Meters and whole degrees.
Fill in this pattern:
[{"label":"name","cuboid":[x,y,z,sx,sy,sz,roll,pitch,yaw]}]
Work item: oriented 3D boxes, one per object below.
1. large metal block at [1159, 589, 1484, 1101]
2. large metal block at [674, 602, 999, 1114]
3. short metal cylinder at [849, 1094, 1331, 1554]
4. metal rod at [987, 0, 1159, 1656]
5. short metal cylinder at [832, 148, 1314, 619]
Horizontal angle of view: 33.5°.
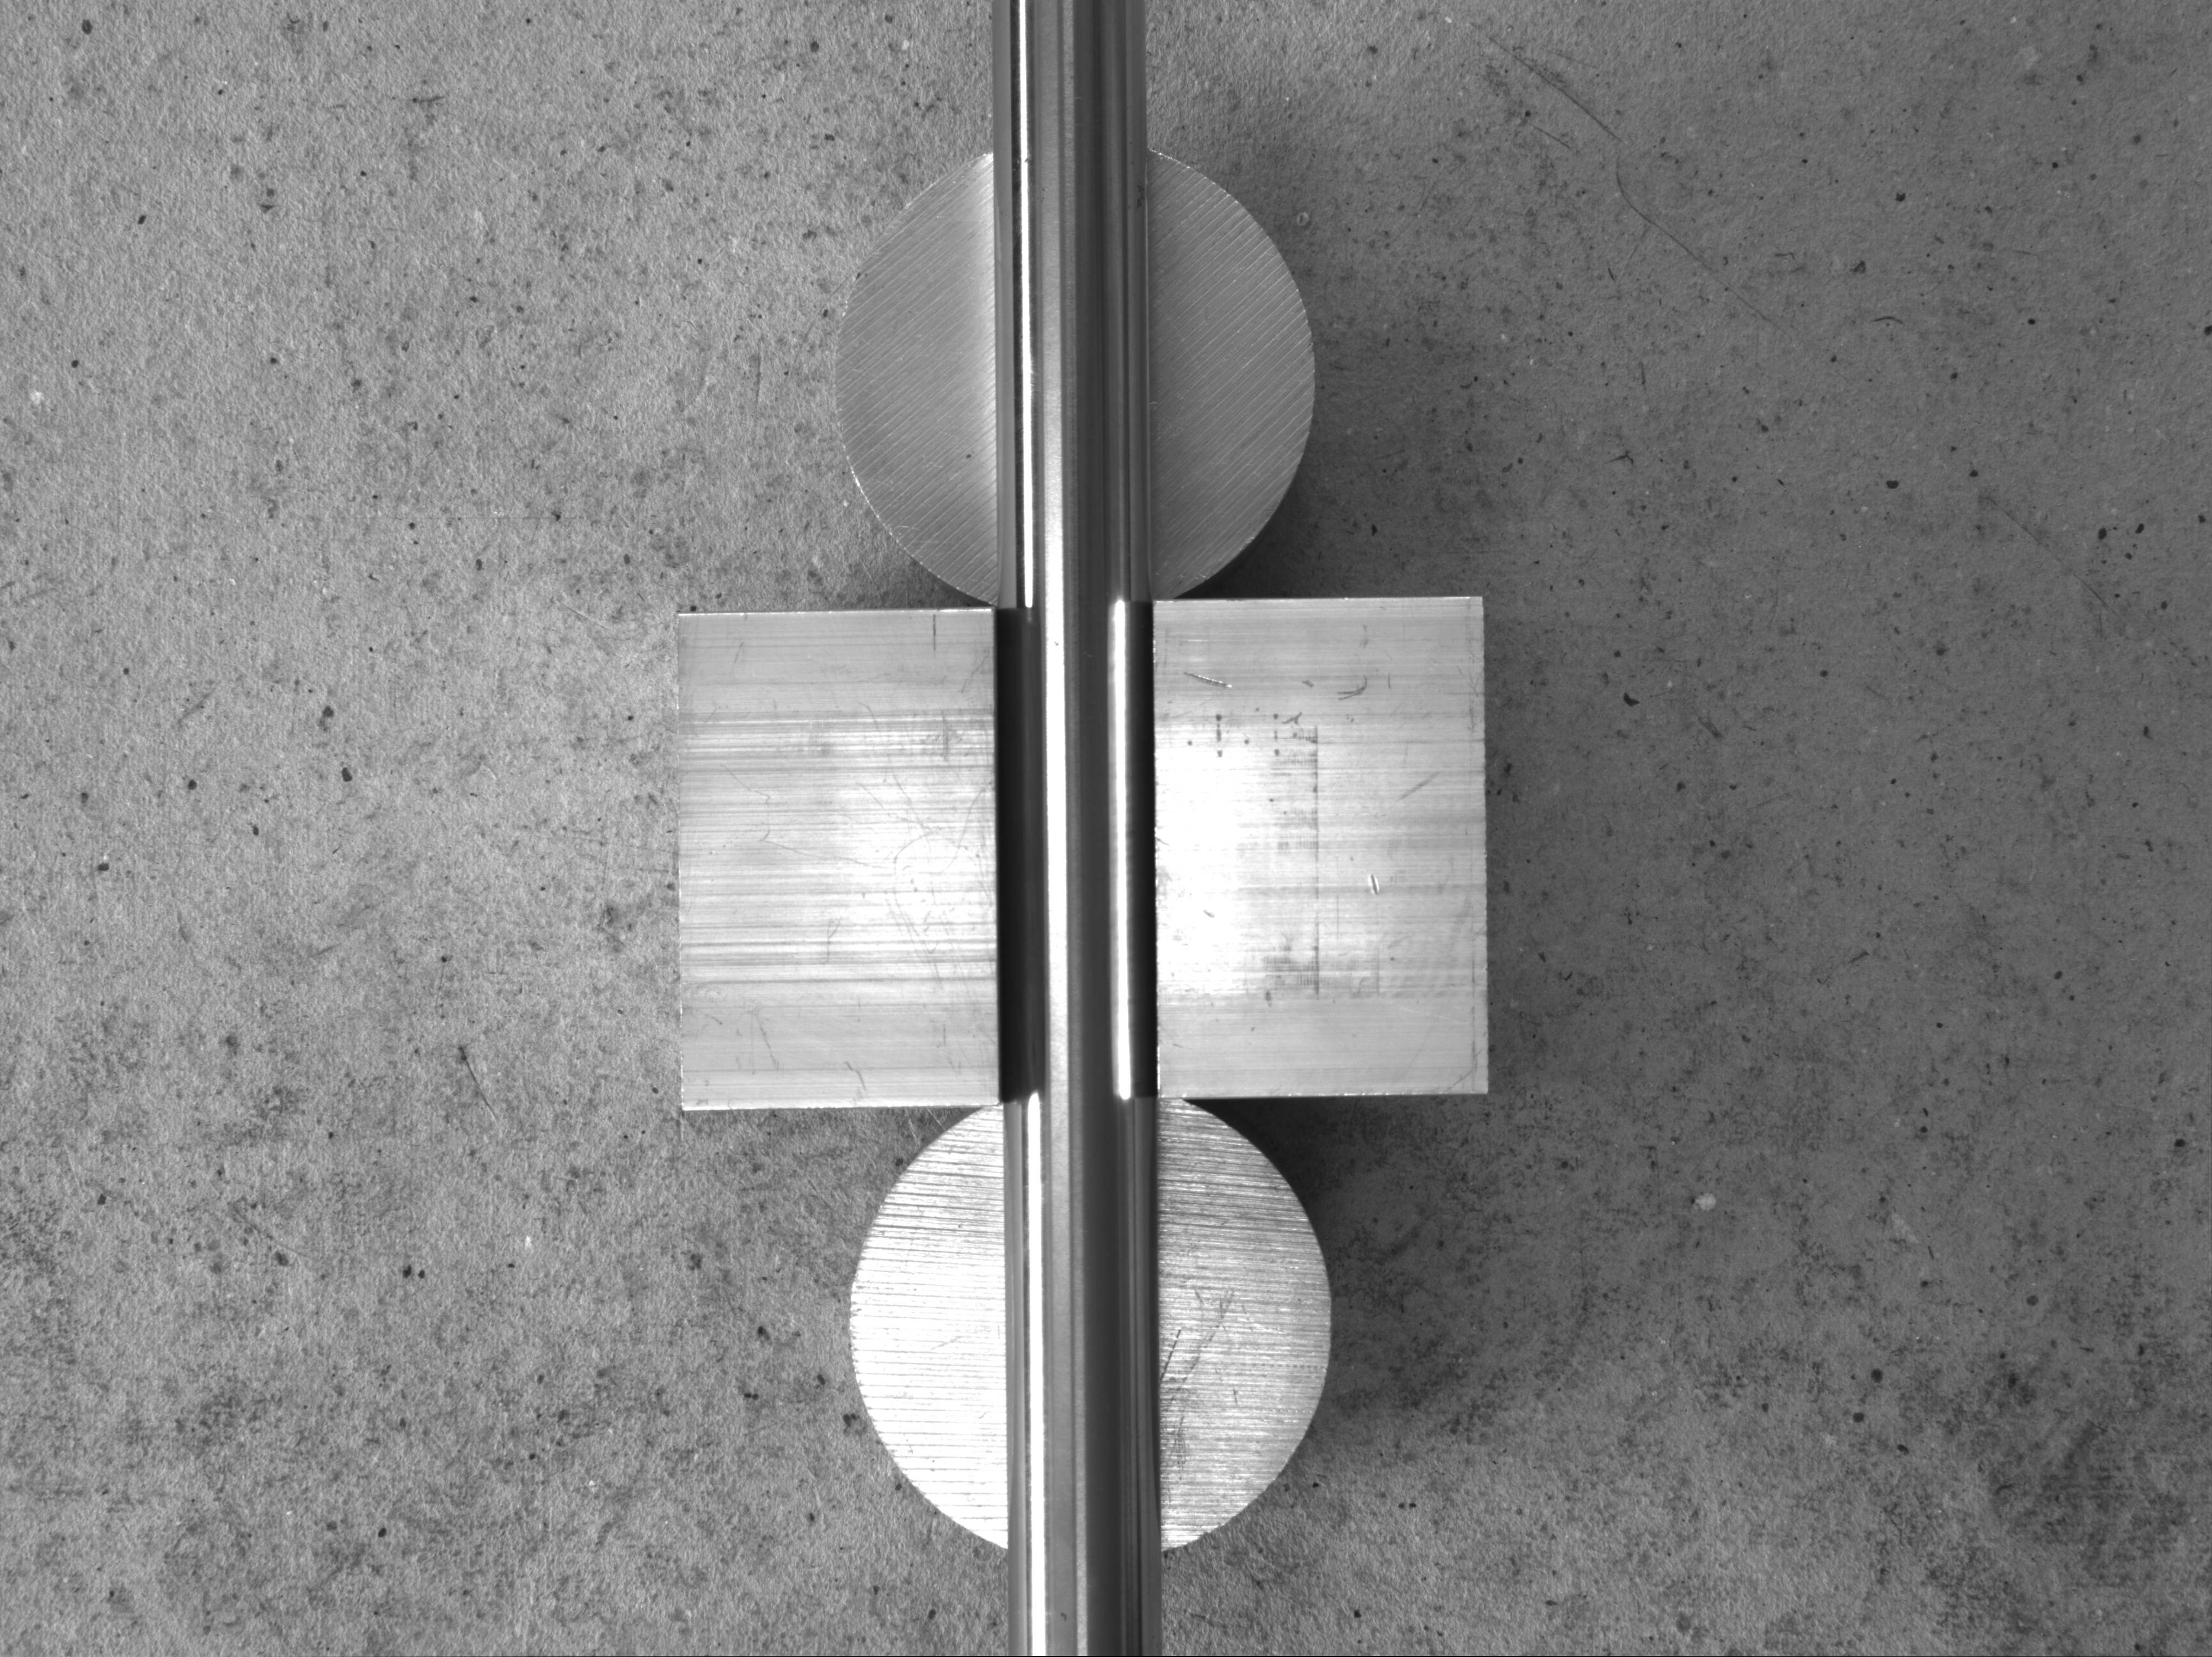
[{"label":"large metal block","cuboid":[0.034,0.003,0.618,0.050,0.080,0.080,-1,90,0]},{"label":"large metal block","cuboid":[-0.042,0.005,0.618,0.050,0.080,0.080,-1,90,0]},{"label":"short metal cylinder","cuboid":[-0.002,0.082,0.634,0.080,0.050,0.080,0,89,0]},{"label":"metal rod","cuboid":[-0.005,0.016,0.596,0.025,0.025,0.300,-1,90,0]},{"label":"short metal cylinder","cuboid":[-0.005,-0.075,0.634,0.080,0.050,0.080,0,89,0]}]
